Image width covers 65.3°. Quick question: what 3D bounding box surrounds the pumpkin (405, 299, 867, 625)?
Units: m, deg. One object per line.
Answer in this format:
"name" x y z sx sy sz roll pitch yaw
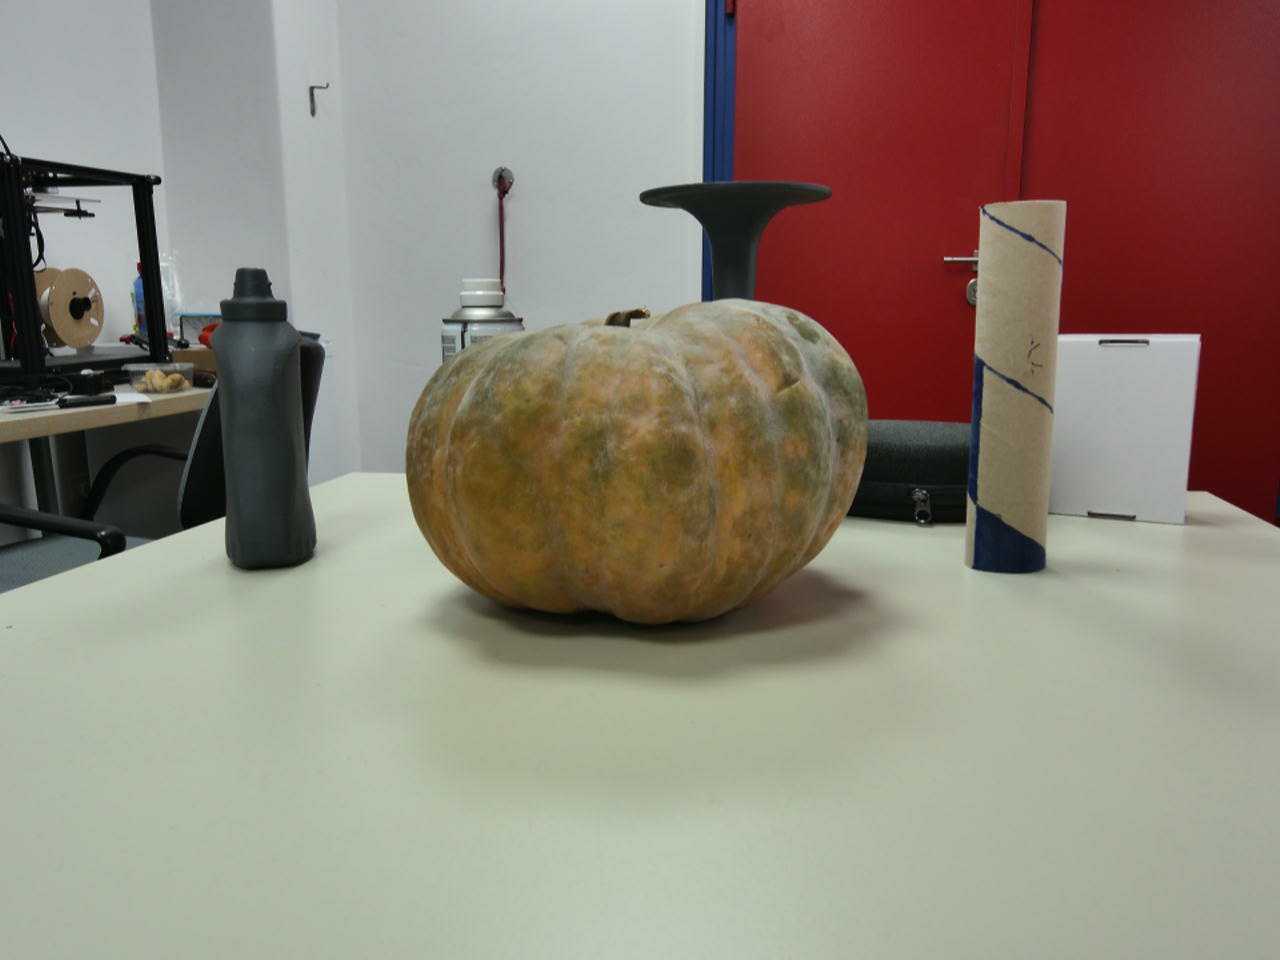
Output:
"pumpkin" -0.007 -0.014 0.558 0.252 0.168 0.252 0 7 0
